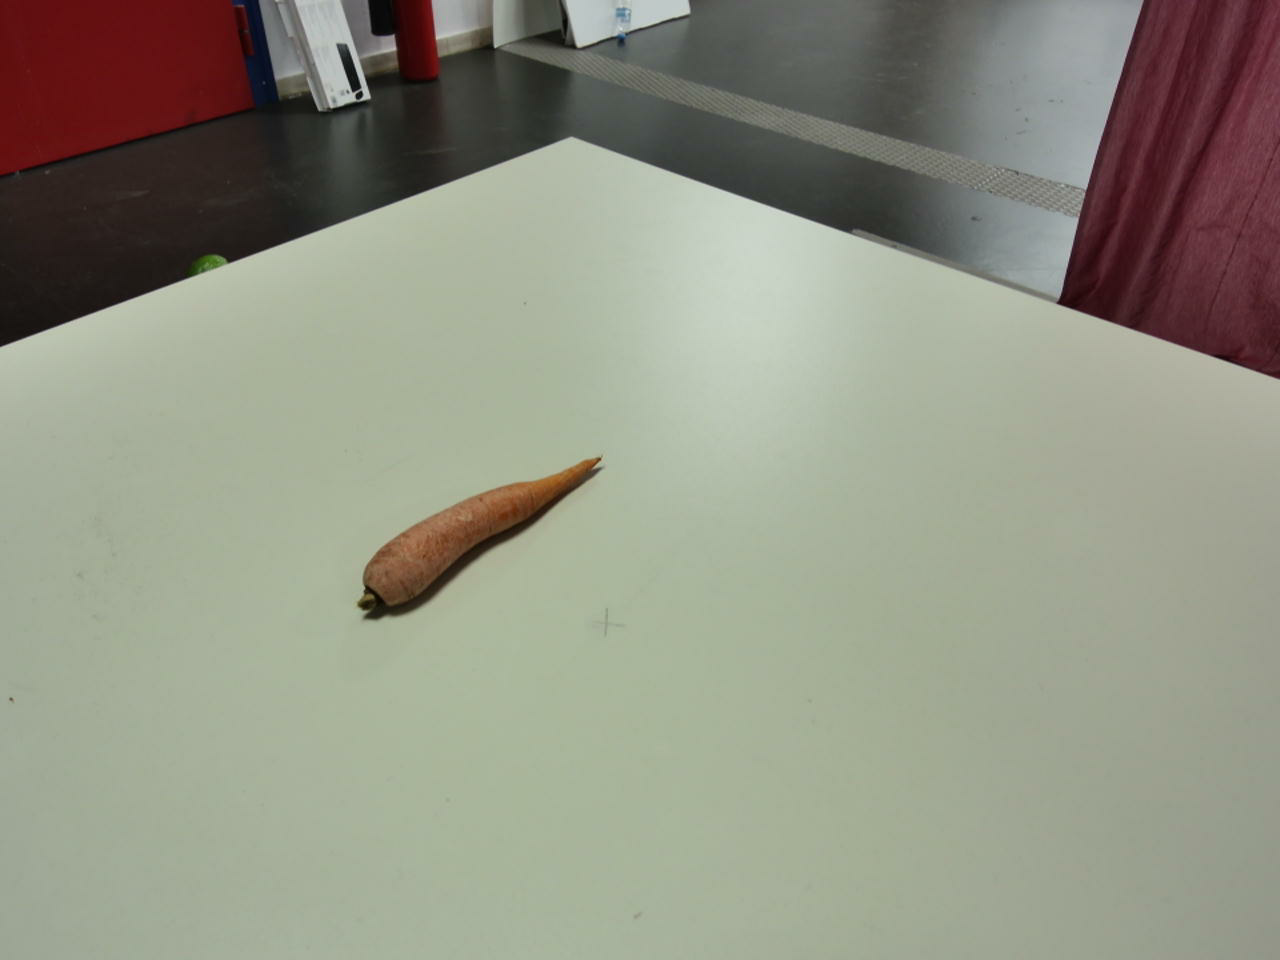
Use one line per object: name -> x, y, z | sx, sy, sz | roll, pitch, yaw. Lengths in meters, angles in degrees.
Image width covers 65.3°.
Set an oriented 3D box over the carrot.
carrot -> -0.081, 0.018, 0.528 | 0.031, 0.029, 0.163 | 28, 45, 31
